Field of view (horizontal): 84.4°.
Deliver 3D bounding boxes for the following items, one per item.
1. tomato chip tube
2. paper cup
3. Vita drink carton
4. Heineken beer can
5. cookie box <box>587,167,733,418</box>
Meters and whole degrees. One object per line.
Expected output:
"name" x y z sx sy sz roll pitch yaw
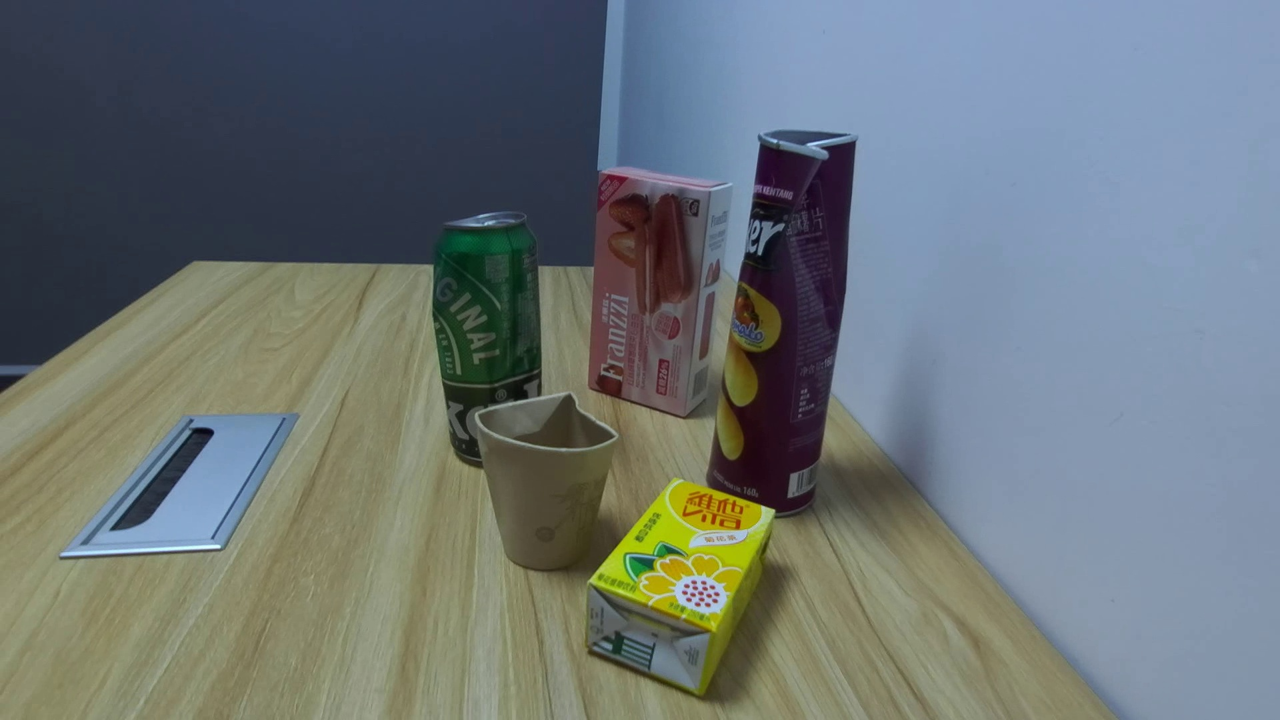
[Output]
"tomato chip tube" 0.093 -0.019 0.445 0.078 0.235 0.076 1 23 -8
"paper cup" -0.054 0.072 0.405 0.066 0.084 0.071 -10 27 -30
"Vita drink carton" 0.025 0.114 0.373 0.066 0.043 0.109 15 25 20
"Heineken beer can" -0.104 -0.013 0.492 0.068 0.168 0.069 -3 19 -10
"cookie box" 0.013 -0.054 0.572 0.096 0.184 0.048 15 24 25
